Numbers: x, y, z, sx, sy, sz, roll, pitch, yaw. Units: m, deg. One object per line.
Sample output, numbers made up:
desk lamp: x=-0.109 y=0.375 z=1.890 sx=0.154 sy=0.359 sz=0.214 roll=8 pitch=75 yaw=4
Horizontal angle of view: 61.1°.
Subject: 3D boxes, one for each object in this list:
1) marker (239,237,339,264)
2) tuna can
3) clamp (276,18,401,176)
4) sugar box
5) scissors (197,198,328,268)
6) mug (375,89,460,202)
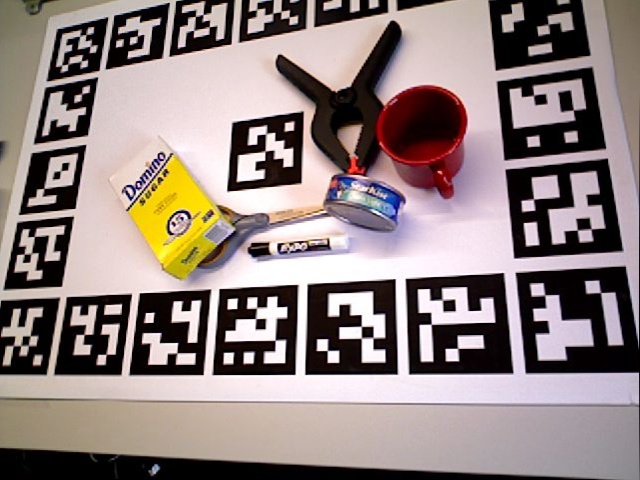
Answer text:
marker: x=-0.038 y=0.013 z=0.633 sx=0.122 sy=0.019 sz=0.019 roll=-8 pitch=71 yaw=17
tuna can: x=0.051 y=-0.037 z=0.582 sx=0.086 sy=0.086 sz=0.033 roll=14 pitch=76 yaw=21
clamp: x=0.035 y=-0.161 z=0.664 sx=0.166 sy=0.037 sz=0.201 roll=-14 pitch=71 yaw=13
sugar box: x=-0.188 y=-0.044 z=0.680 sx=0.093 sy=0.045 sz=0.175 roll=-39 pitch=60 yaw=3
scissors: x=-0.082 y=-0.024 z=0.656 sx=0.204 sy=0.016 sz=0.087 roll=-14 pitch=66 yaw=12
mug: x=0.111 y=-0.090 z=0.584 sx=0.093 sy=0.082 sz=0.116 roll=-30 pitch=63 yaw=6
